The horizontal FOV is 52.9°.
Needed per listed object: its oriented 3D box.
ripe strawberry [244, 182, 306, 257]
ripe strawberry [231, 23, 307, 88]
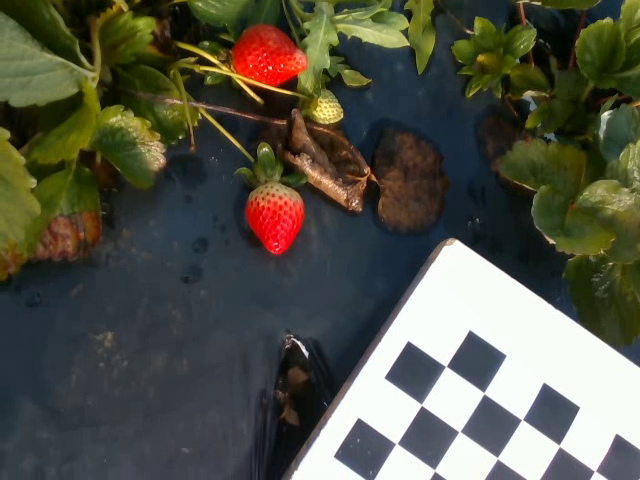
[{"bbox_3d":[-0.025,-0.012,0.332,0.035,0.043,0.030,-1,-12,-8],"label":"ripe strawberry"},{"bbox_3d":[-0.026,-0.102,0.341,0.048,0.040,0.031,13,-13,38],"label":"ripe strawberry"}]
